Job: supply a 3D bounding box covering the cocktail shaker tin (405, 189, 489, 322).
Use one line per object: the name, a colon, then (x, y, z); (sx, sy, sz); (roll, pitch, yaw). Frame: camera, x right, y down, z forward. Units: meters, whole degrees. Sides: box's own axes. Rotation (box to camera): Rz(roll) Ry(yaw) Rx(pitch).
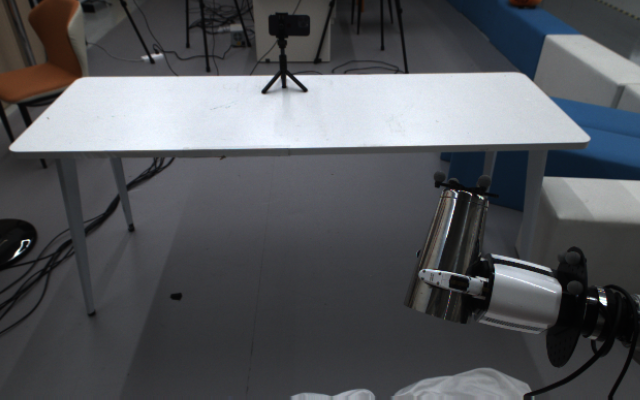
cocktail shaker tin: (0.183, 0.075, 0.676); (0.093, 0.170, 0.093); (15, -4, 1)
